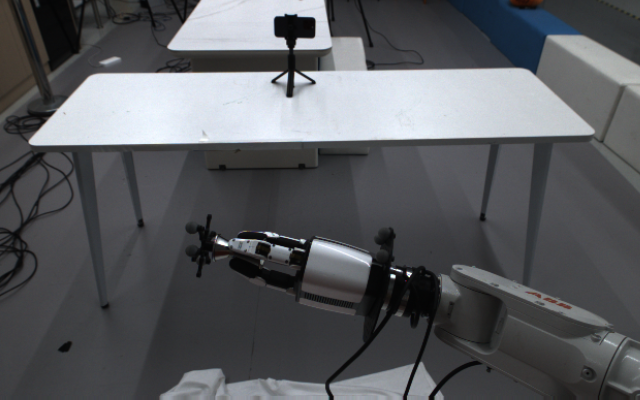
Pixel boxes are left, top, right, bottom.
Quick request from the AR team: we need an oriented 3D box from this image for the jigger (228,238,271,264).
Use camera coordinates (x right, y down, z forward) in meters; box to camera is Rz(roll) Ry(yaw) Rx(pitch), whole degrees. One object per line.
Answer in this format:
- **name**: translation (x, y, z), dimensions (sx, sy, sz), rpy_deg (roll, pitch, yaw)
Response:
- **jigger**: translation (-0.104, 0.066, 0.678), dimensions (0.071, 0.043, 0.043), rpy_deg (6, 35, 2)
